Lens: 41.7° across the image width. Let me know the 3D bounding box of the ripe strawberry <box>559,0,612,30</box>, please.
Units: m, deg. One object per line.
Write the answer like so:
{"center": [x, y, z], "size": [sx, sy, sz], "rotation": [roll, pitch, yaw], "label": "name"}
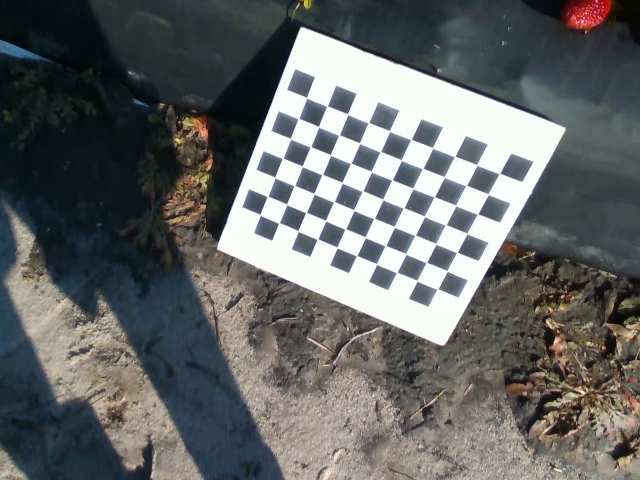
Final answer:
{"center": [0.215, -0.189, 0.685], "size": [0.050, 0.043, 0.043], "rotation": [-42, 16, -26], "label": "ripe strawberry"}
